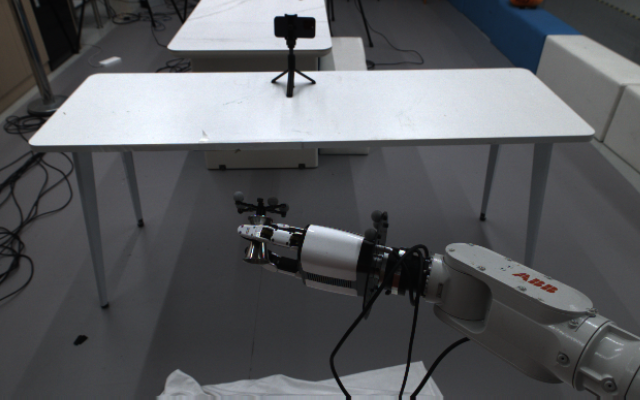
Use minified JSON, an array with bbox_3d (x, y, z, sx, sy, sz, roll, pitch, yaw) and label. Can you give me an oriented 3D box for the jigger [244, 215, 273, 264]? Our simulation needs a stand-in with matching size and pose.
[{"bbox_3d":[-0.096,0.061,0.744,0.043,0.043,0.071,3,72,1],"label":"jigger"}]
